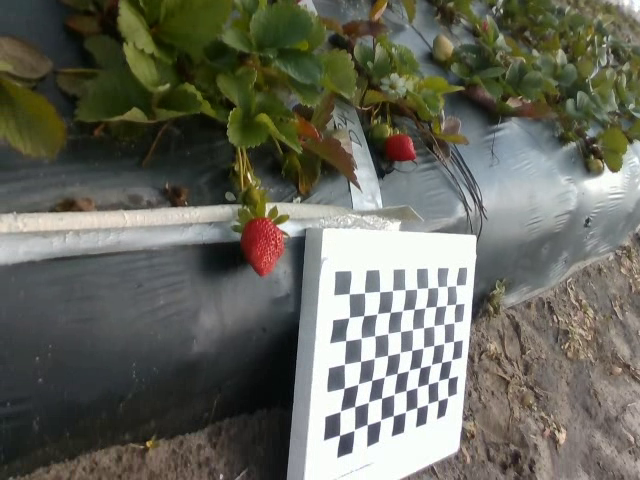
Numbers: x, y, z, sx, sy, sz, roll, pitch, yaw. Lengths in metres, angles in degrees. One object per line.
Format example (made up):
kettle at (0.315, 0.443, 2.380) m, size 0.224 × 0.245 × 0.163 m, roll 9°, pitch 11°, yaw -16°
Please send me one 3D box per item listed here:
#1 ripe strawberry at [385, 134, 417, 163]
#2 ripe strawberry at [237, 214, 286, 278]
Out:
ripe strawberry at (0.091, -0.100, 0.623) m, size 0.037 × 0.030 × 0.047 m, roll 22°, pitch 25°, yaw -46°
ripe strawberry at (-0.045, 0.009, 0.421) m, size 0.030 × 0.052 × 0.047 m, roll -15°, pitch -47°, yaw 25°
